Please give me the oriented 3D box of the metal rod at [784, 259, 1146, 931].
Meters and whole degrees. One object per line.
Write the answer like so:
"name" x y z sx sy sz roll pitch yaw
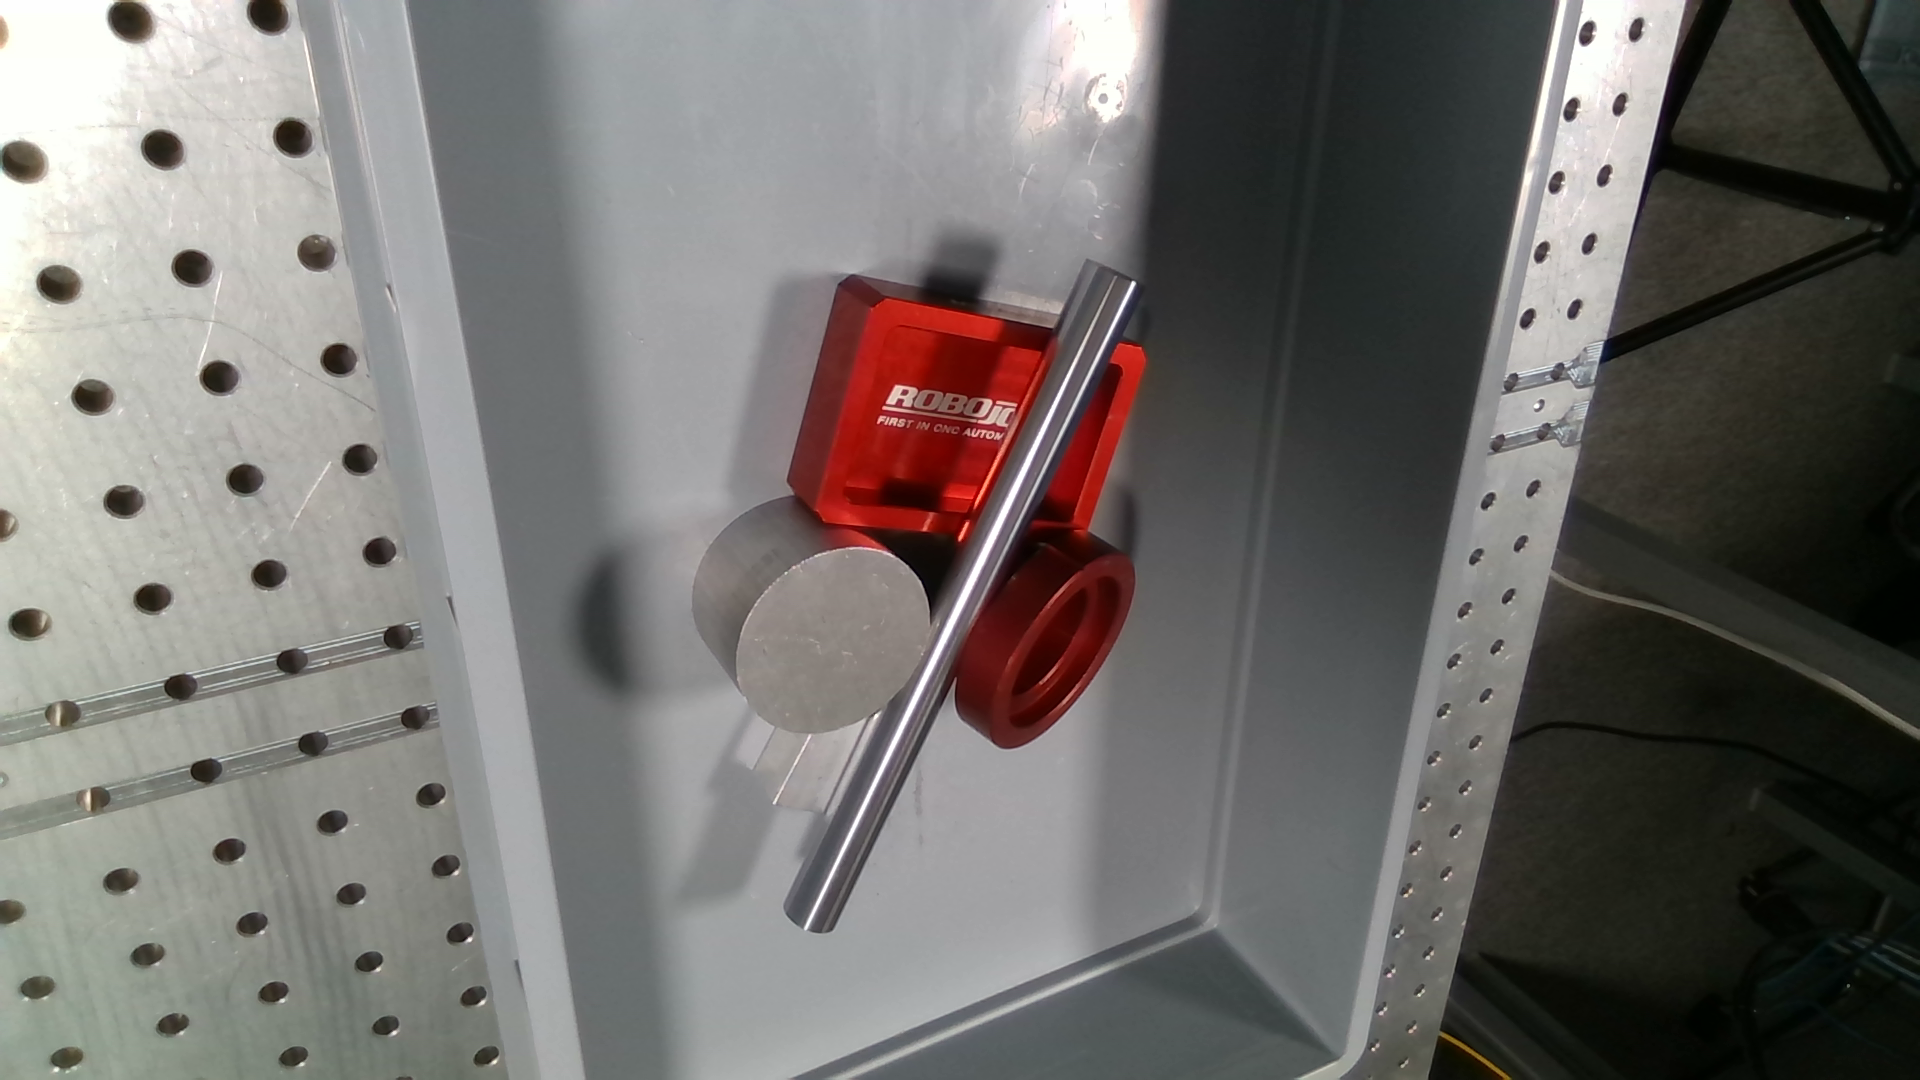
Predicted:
"metal rod" -0.003 0.031 0.557 0.025 0.025 0.300 13 110 -36

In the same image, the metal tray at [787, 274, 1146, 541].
"metal tray" 0.004 -0.049 0.551 0.130 0.030 0.090 4 112 -33

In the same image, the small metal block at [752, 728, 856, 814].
"small metal block" -0.054 0.090 0.595 0.050 0.025 0.050 20 104 -37

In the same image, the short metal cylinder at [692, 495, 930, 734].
"short metal cylinder" -0.059 0.029 0.542 0.080 0.050 0.080 -14 122 -25

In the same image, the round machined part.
"round machined part" 0.029 0.038 0.591 0.098 0.042 0.098 -40 149 -30
